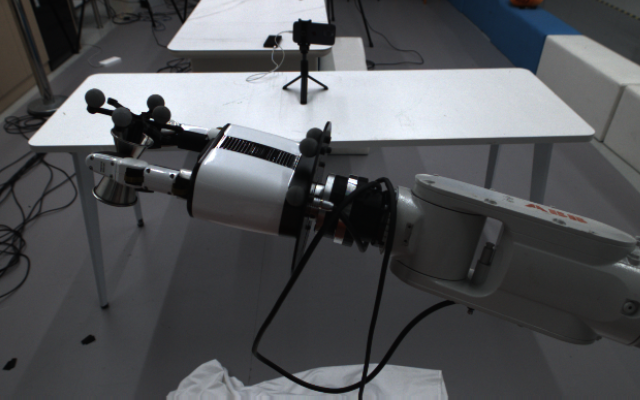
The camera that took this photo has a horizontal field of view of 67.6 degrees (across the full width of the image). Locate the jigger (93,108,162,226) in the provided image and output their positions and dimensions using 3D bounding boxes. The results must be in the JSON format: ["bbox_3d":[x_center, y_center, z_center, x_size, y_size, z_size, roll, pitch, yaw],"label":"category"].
[{"bbox_3d":[-0.194,-0.032,0.480,0.043,0.071,0.043,23,19,-8],"label":"jigger"}]
